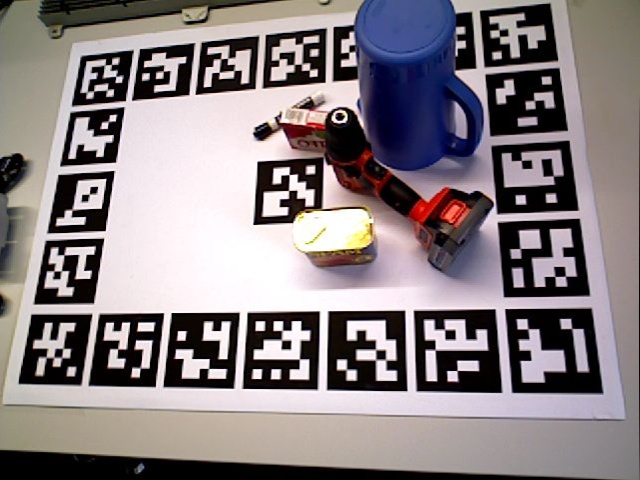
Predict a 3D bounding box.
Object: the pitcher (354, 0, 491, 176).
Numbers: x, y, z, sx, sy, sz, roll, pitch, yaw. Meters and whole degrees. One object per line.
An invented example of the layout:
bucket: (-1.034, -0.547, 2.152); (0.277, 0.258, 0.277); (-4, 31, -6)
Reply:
pitcher: (0.128, -0.183, 0.660); (0.189, 0.243, 0.133); (30, 83, 25)

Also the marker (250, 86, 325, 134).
marker: (-0.049, -0.192, 0.807); (0.121, 0.020, 0.019); (-28, 70, 3)

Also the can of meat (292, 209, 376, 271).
can of meat: (0.021, 0.002, 0.700); (0.102, 0.084, 0.057); (-3, 70, 10)

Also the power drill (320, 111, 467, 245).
power drill: (0.082, -0.076, 0.661); (0.187, 0.185, 0.057); (34, 83, 13)

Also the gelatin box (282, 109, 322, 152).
gelatin box: (-0.001, -0.150, 0.759); (0.089, 0.073, 0.030); (9, 77, 12)
